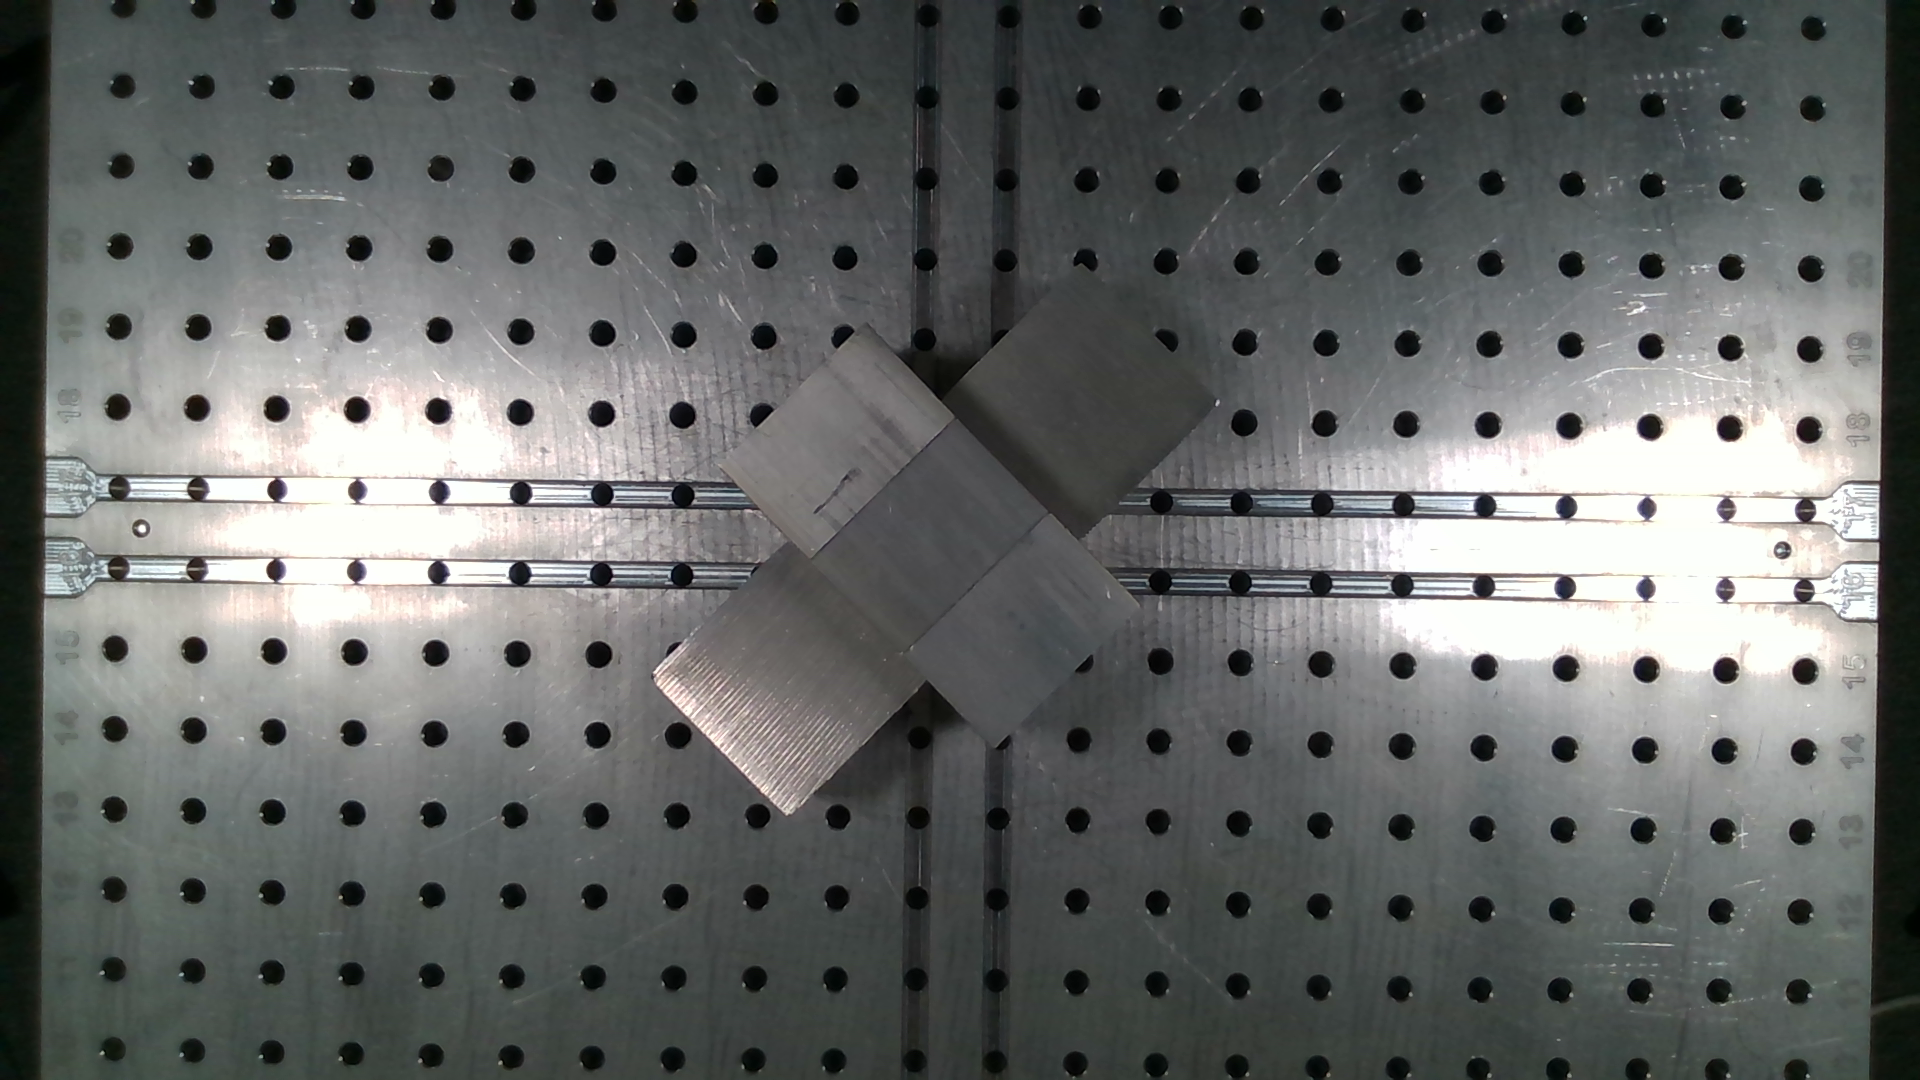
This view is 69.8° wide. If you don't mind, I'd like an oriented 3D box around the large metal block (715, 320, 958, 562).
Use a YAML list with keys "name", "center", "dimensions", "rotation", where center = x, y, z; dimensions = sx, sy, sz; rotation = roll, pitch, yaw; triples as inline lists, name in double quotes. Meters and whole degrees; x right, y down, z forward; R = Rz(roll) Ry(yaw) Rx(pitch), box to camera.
- name: "large metal block"
  center: [-0.047, -0.037, 0.562]
  dimensions: [0.080, 0.080, 0.050]
  rotation: [-44, 90, 0]

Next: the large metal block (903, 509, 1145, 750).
- name: "large metal block"
  center: [0.024, 0.034, 0.563]
  dimensions: [0.080, 0.080, 0.050]
  rotation: [-44, 90, 0]

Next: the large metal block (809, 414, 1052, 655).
- name: "large metal block"
  center: [-0.011, -0.002, 0.562]
  dimensions: [0.080, 0.080, 0.050]
  rotation: [-44, 90, 0]

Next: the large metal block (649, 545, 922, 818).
- name: "large metal block"
  center: [-0.068, 0.055, 0.577]
  dimensions: [0.080, 0.050, 0.080]
  rotation: [-44, 89, 0]

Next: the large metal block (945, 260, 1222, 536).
- name: "large metal block"
  center: [0.048, -0.055, 0.574]
  dimensions: [0.080, 0.050, 0.080]
  rotation: [45, 90, 1]
